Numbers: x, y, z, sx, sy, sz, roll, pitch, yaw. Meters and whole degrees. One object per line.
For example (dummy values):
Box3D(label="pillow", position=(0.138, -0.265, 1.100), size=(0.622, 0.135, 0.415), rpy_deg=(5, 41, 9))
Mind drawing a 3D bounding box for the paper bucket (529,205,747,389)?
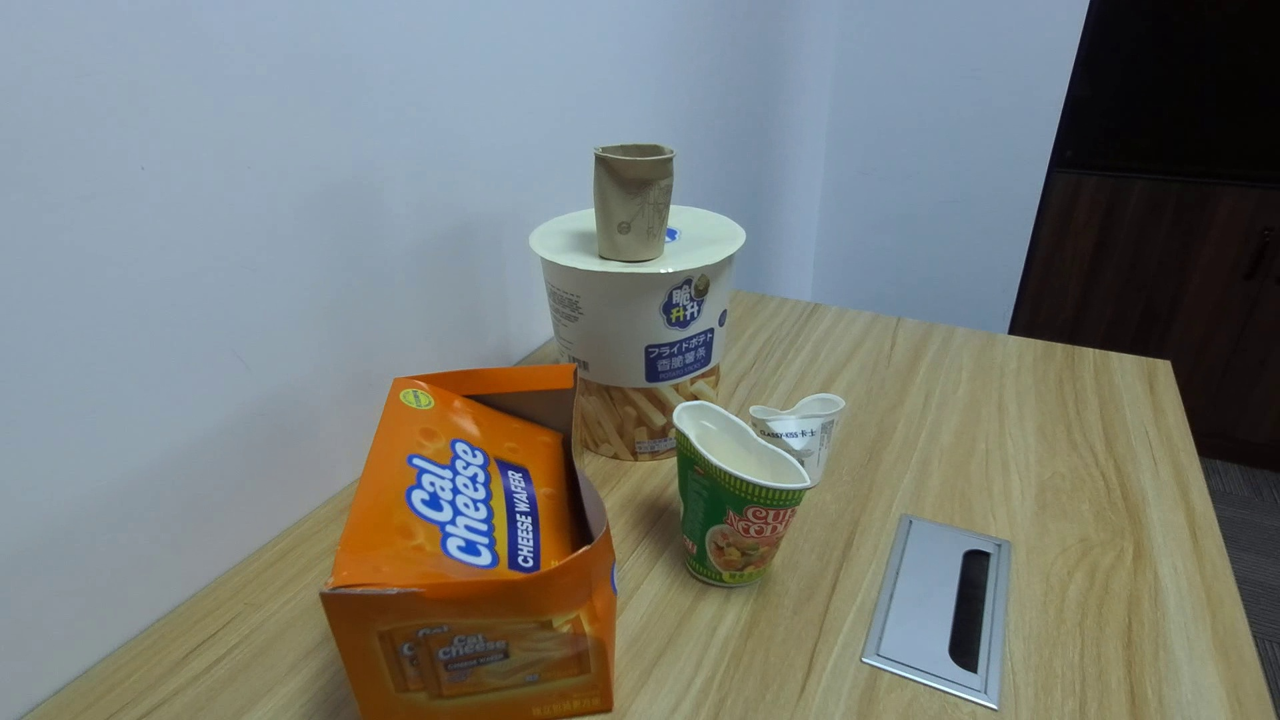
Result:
Box3D(label="paper bucket", position=(0.000, -0.025, 0.663), size=(0.198, 0.195, 0.198), rpy_deg=(0, 28, 1))

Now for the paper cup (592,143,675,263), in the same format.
Box3D(label="paper cup", position=(-0.005, -0.126, 0.560), size=(0.066, 0.084, 0.071), rpy_deg=(-2, 24, -3))

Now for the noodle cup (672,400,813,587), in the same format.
Box3D(label="noodle cup", position=(0.066, 0.099, 0.509), size=(0.070, 0.111, 0.114), rpy_deg=(-8, 29, -9))

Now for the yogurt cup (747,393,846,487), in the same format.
Box3D(label="yogurt cup", position=(0.133, 0.069, 0.611), size=(0.076, 0.071, 0.053), rpy_deg=(-21, 33, -35))

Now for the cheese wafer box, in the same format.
Box3D(label="cheese wafer box", position=(-0.100, 0.116, 0.478), size=(0.152, 0.132, 0.230), rpy_deg=(-3, 26, -8))
